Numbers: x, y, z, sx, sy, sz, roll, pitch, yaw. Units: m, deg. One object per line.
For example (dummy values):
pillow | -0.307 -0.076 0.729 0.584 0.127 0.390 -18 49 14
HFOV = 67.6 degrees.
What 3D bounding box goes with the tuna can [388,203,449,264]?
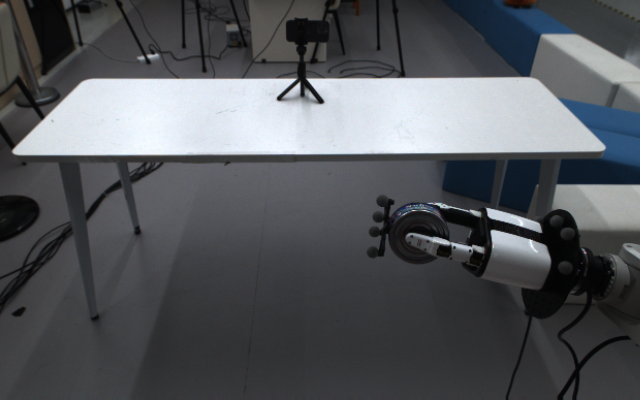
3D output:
tuna can | 0.142 0.046 0.692 0.085 0.085 0.034 4 17 3
